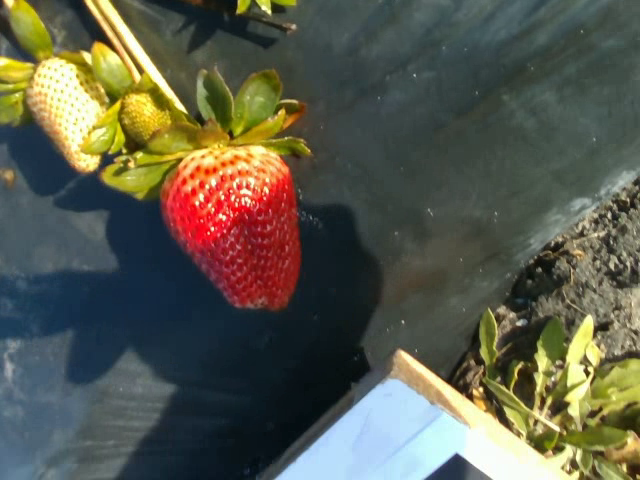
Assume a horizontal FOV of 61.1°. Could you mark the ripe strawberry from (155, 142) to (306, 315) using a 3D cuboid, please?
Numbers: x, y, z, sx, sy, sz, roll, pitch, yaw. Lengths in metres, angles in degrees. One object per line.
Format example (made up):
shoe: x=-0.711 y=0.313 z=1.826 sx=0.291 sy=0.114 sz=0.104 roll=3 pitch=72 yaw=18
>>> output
ripe strawberry: x=-0.021 y=-0.001 z=0.157 sx=0.042 sy=0.059 sz=0.042 roll=-27 pitch=1 yaw=16
